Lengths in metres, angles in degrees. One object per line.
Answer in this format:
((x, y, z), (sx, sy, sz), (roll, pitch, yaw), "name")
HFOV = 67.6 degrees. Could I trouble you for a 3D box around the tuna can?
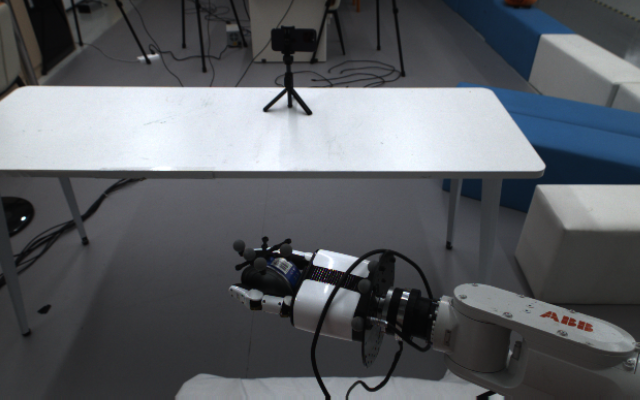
((-0.065, 0.116, 0.690), (0.085, 0.085, 0.034), (17, 36, 20), "tuna can")
